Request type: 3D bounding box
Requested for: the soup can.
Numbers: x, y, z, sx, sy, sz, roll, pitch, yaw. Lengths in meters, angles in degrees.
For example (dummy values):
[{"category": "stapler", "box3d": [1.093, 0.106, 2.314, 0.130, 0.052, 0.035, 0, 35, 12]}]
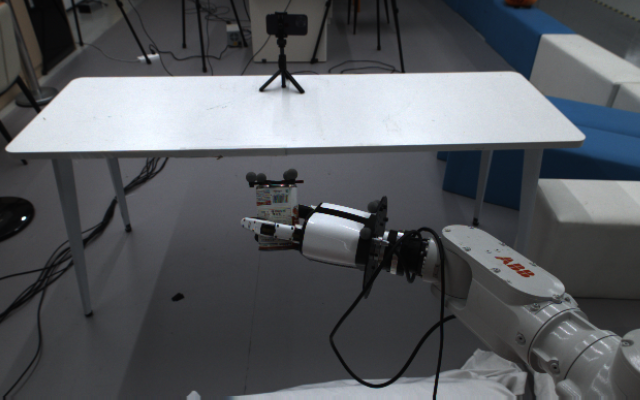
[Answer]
[{"category": "soup can", "box3d": [-0.066, 0.028, 0.769, 0.067, 0.101, 0.067, -3, -1, 0]}]
